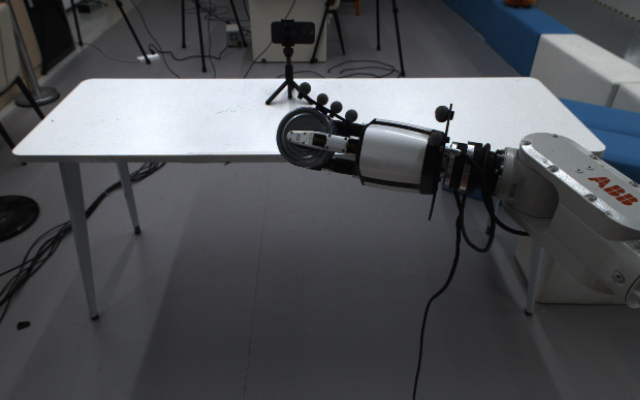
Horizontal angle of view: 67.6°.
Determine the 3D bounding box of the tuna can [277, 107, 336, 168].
[{"bbox_3d":[-0.018,-0.090,0.692,0.085,0.085,0.034,12,4,15],"label":"tuna can"}]
